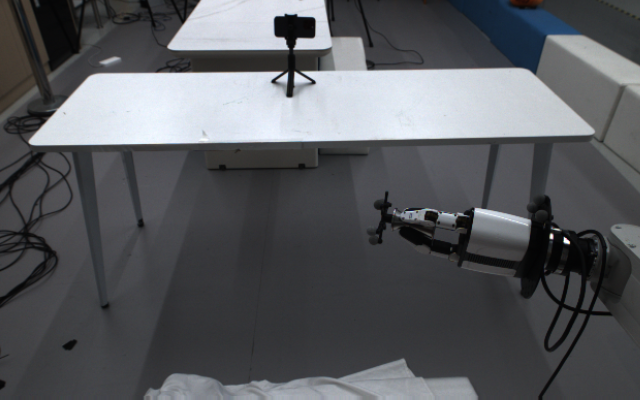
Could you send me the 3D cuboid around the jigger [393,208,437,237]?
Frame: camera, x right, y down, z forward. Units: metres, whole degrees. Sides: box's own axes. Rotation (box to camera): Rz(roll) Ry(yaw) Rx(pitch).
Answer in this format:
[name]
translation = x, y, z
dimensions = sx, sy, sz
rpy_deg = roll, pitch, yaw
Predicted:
[jigger]
translation = 0.159, 0.033, 0.785
dimensions = 0.071, 0.043, 0.043
rpy_deg = 10, 35, 15
